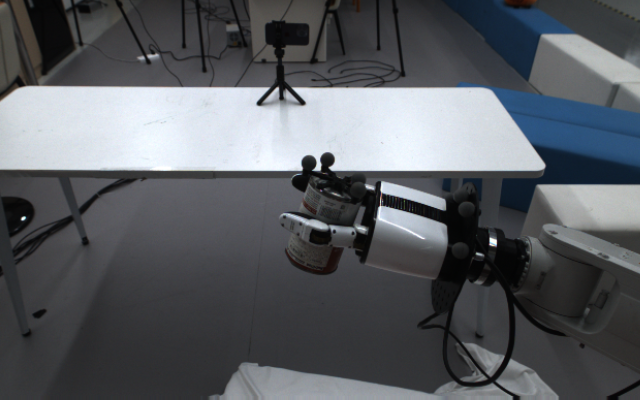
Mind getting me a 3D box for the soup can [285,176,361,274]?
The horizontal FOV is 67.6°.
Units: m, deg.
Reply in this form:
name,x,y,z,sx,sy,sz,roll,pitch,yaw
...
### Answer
name,x,y,z,sx,sy,sz,roll,pitch,yaw
soup can,0.006,0.029,0.576,0.067,0.101,0.067,17,21,-7
